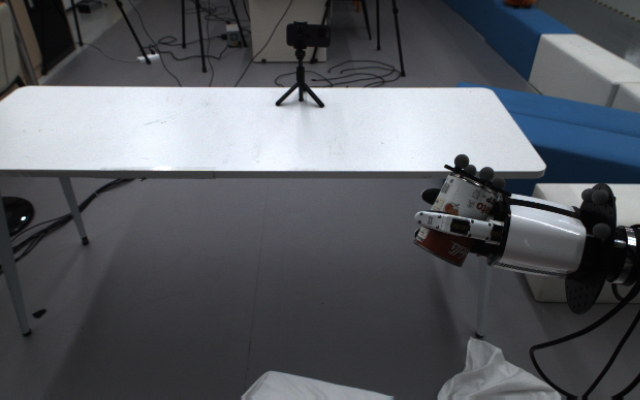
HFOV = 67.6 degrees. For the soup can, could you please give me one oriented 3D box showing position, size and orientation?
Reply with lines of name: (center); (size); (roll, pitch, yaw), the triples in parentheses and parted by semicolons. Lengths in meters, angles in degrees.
soup can: (0.174, 0.024, 0.612); (0.067, 0.101, 0.067); (26, 5, -2)
